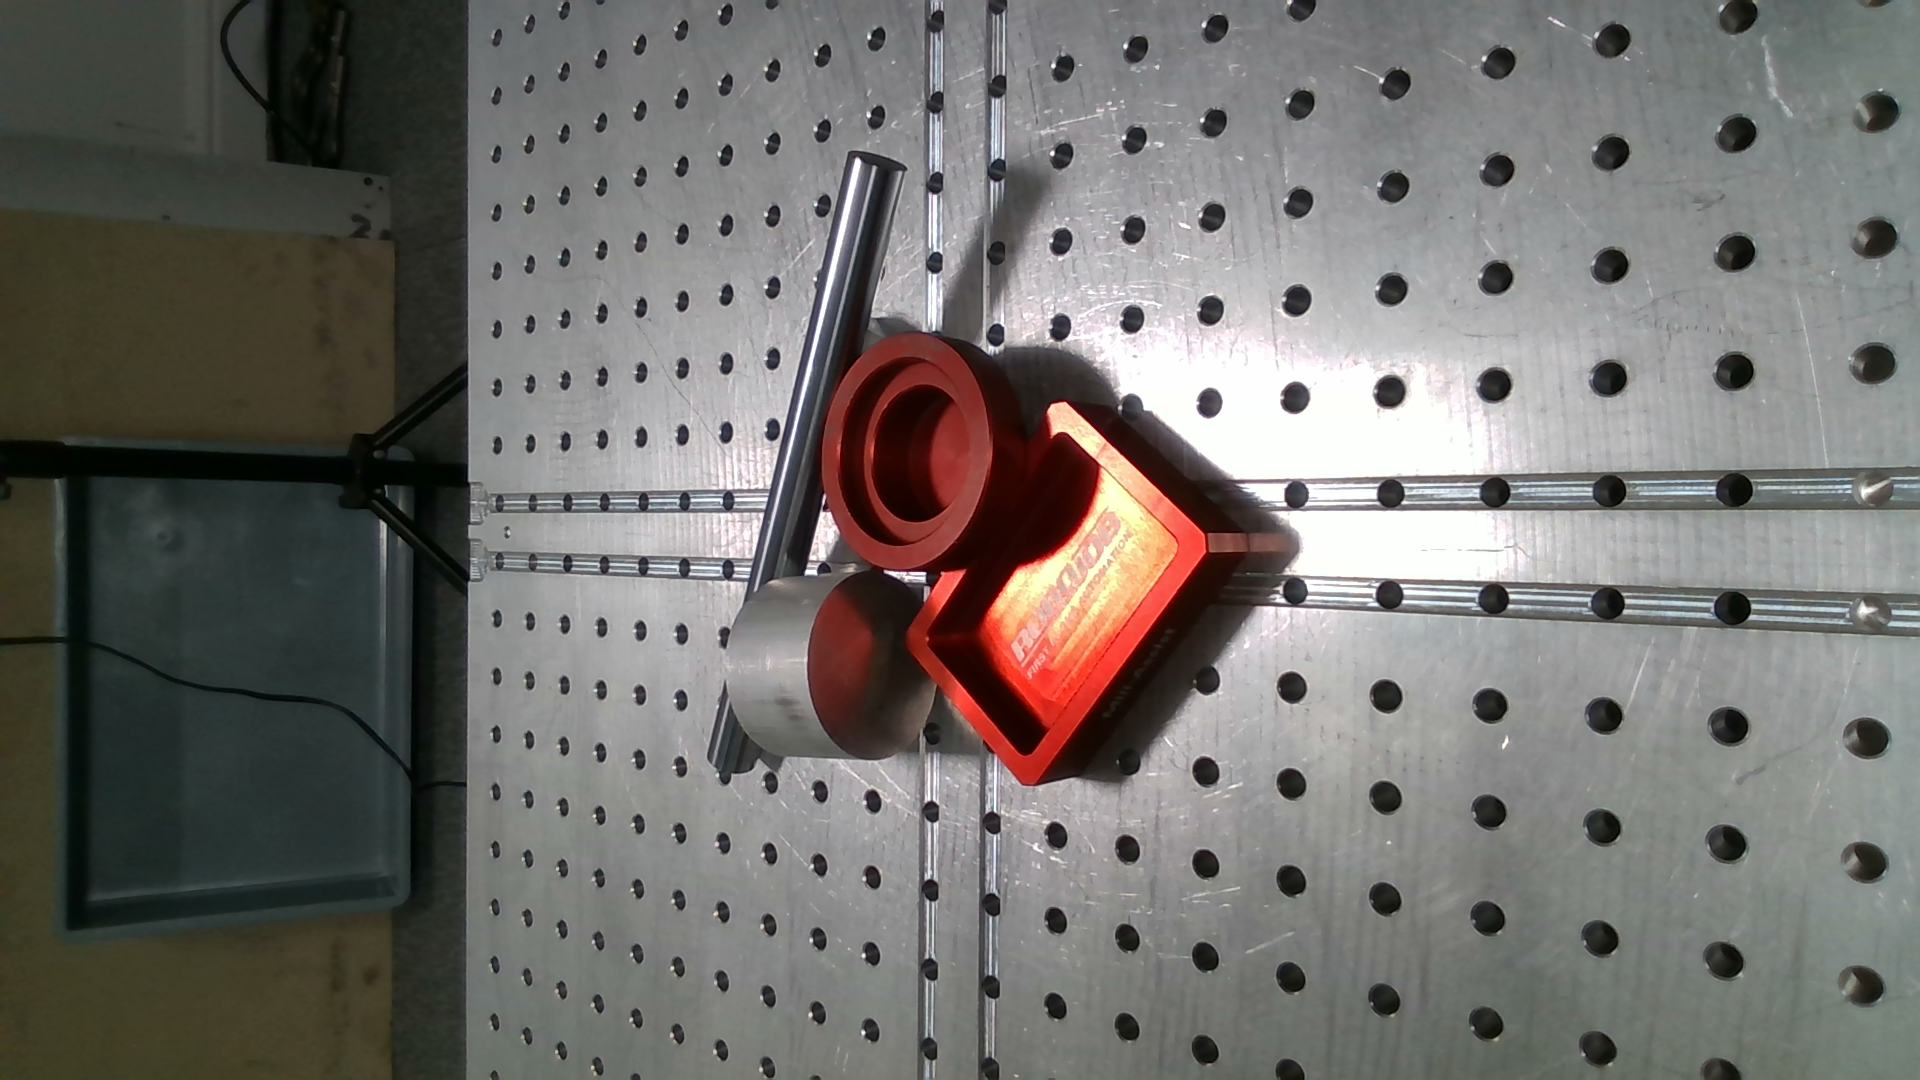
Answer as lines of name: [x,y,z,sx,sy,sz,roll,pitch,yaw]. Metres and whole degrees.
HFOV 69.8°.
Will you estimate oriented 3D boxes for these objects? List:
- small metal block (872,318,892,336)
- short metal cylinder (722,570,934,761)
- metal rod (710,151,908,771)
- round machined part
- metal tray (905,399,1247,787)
small metal block: [-0.039,-0.069,0.618,0.050,0.025,0.050,35,112,35]
short metal cylinder: [-0.055,0.054,0.595,0.050,0.080,0.080,-5,87,40]
metal rod: [-0.073,-0.023,0.620,0.025,0.025,0.301,36,121,34]
round machined part: [-0.011,-0.035,0.572,0.098,0.042,0.098,-2,87,40]
metal tray: [0.041,0.022,0.546,0.090,0.030,0.130,47,118,29]
